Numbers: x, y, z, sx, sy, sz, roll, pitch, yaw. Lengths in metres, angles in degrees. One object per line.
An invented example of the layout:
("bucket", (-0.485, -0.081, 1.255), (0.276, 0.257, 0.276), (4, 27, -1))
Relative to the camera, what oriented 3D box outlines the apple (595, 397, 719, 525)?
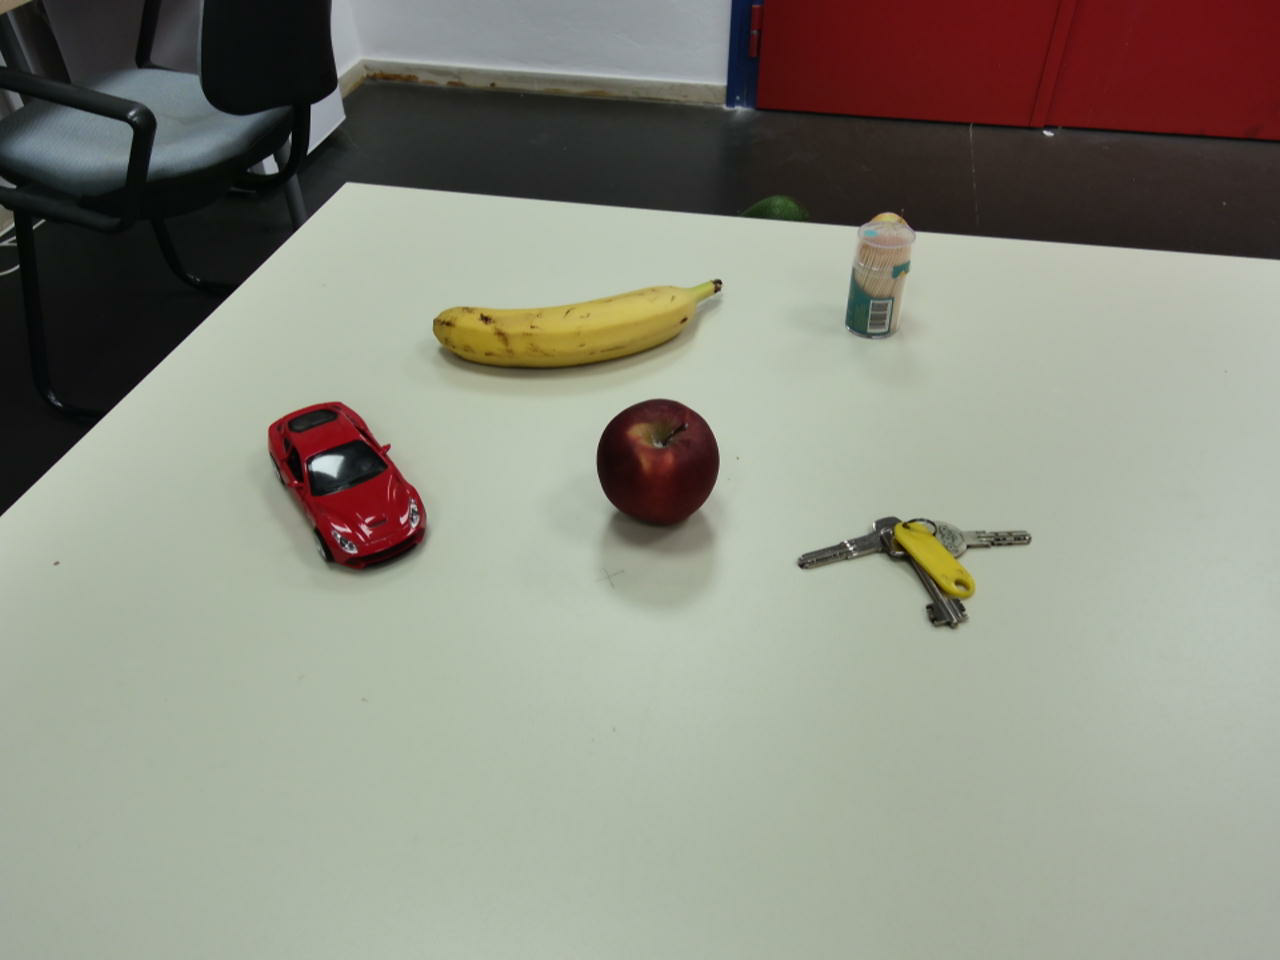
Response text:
("apple", (0.010, -0.008, 0.559), (0.070, 0.072, 0.070), (1, 39, -1))
